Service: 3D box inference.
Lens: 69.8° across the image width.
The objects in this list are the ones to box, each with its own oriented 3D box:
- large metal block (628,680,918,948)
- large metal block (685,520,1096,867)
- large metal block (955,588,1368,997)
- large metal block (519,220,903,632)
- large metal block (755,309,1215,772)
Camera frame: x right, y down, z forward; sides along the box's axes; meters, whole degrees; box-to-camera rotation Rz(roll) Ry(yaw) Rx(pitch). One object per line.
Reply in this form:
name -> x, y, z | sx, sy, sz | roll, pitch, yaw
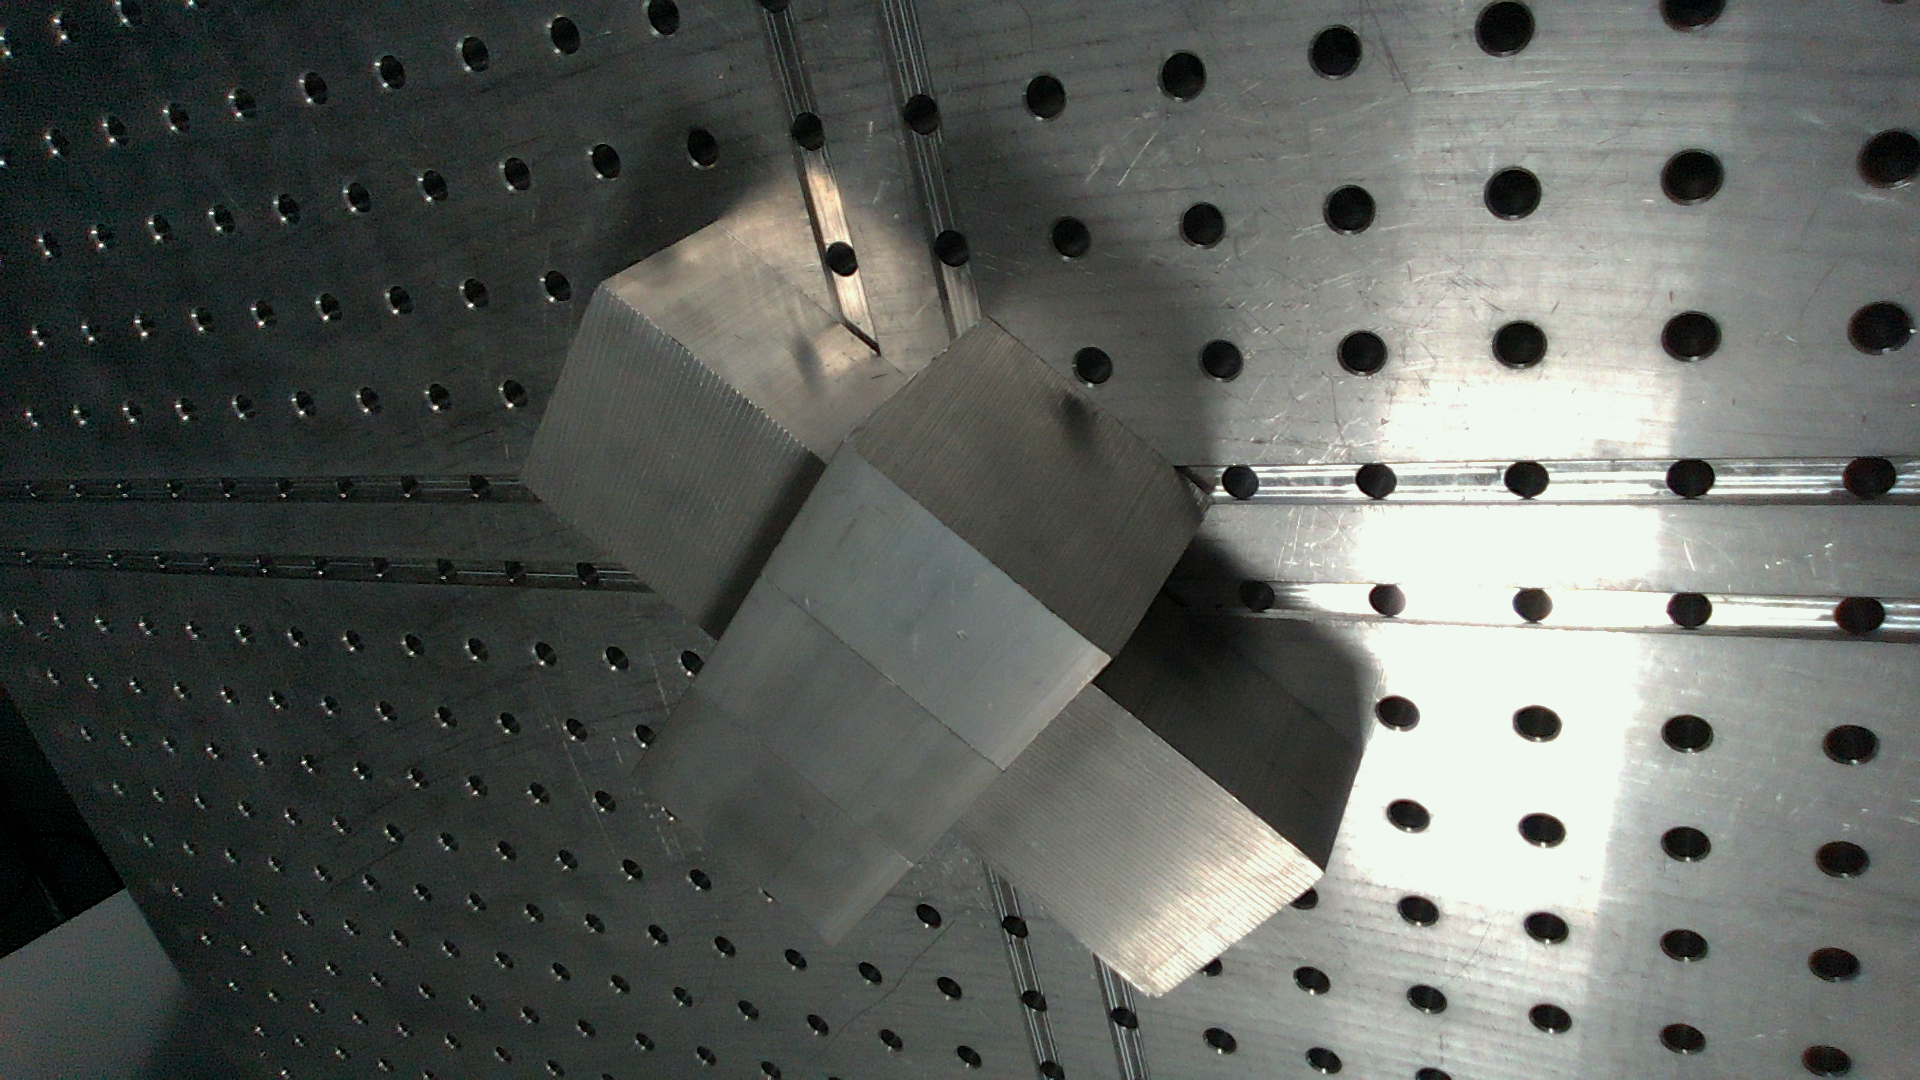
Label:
large metal block -> -0.038, 0.060, 0.418 | 0.080, 0.080, 0.050 | 39, 129, 2
large metal block -> -0.015, 0.028, 0.387 | 0.080, 0.080, 0.050 | 39, 129, 2
large metal block -> 0.055, 0.072, 0.395 | 0.080, 0.050, 0.080 | 39, 130, 2
large metal block -> -0.070, -0.029, 0.396 | 0.080, 0.050, 0.080 | 38, 130, 2
large metal block -> 0.009, -0.003, 0.355 | 0.080, 0.080, 0.050 | 39, 129, 2
